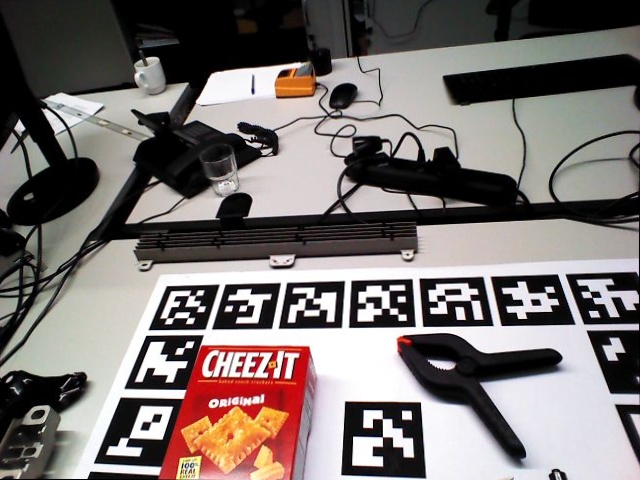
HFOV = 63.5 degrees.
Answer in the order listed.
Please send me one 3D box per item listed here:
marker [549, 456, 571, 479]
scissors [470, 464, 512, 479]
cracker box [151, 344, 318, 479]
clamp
[{"bbox_3d":[0.264,0.285,0.540,0.020,0.020,0.120,-6,39,8],"label":"marker"},{"bbox_3d":[0.125,0.291,0.572,0.202,0.016,0.087,-20,39,-13],"label":"scissors"},{"bbox_3d":[-0.100,0.233,0.662,0.165,0.072,0.212,-3,40,12],"label":"cracker box"},{"bbox_3d":[0.194,0.170,0.705,0.204,0.037,0.164,20,48,32],"label":"clamp"}]
